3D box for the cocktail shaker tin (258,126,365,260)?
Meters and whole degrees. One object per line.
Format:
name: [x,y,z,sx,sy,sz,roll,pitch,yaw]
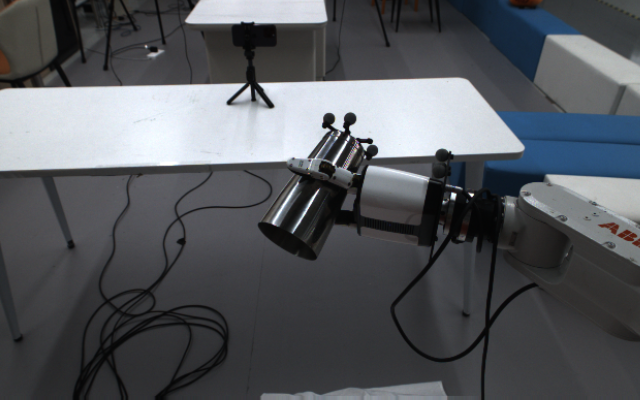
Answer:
cocktail shaker tin: [-0.002,-0.016,0.675,0.093,0.093,0.170,20,67,24]
